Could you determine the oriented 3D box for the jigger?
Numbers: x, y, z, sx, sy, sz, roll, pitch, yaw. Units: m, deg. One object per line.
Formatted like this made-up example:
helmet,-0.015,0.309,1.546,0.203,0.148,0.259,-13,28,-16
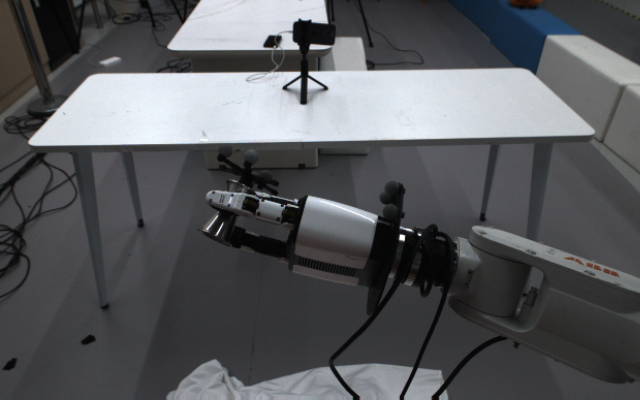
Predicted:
jigger,-0.107,0.013,0.564,0.043,0.043,0.071,20,72,23
